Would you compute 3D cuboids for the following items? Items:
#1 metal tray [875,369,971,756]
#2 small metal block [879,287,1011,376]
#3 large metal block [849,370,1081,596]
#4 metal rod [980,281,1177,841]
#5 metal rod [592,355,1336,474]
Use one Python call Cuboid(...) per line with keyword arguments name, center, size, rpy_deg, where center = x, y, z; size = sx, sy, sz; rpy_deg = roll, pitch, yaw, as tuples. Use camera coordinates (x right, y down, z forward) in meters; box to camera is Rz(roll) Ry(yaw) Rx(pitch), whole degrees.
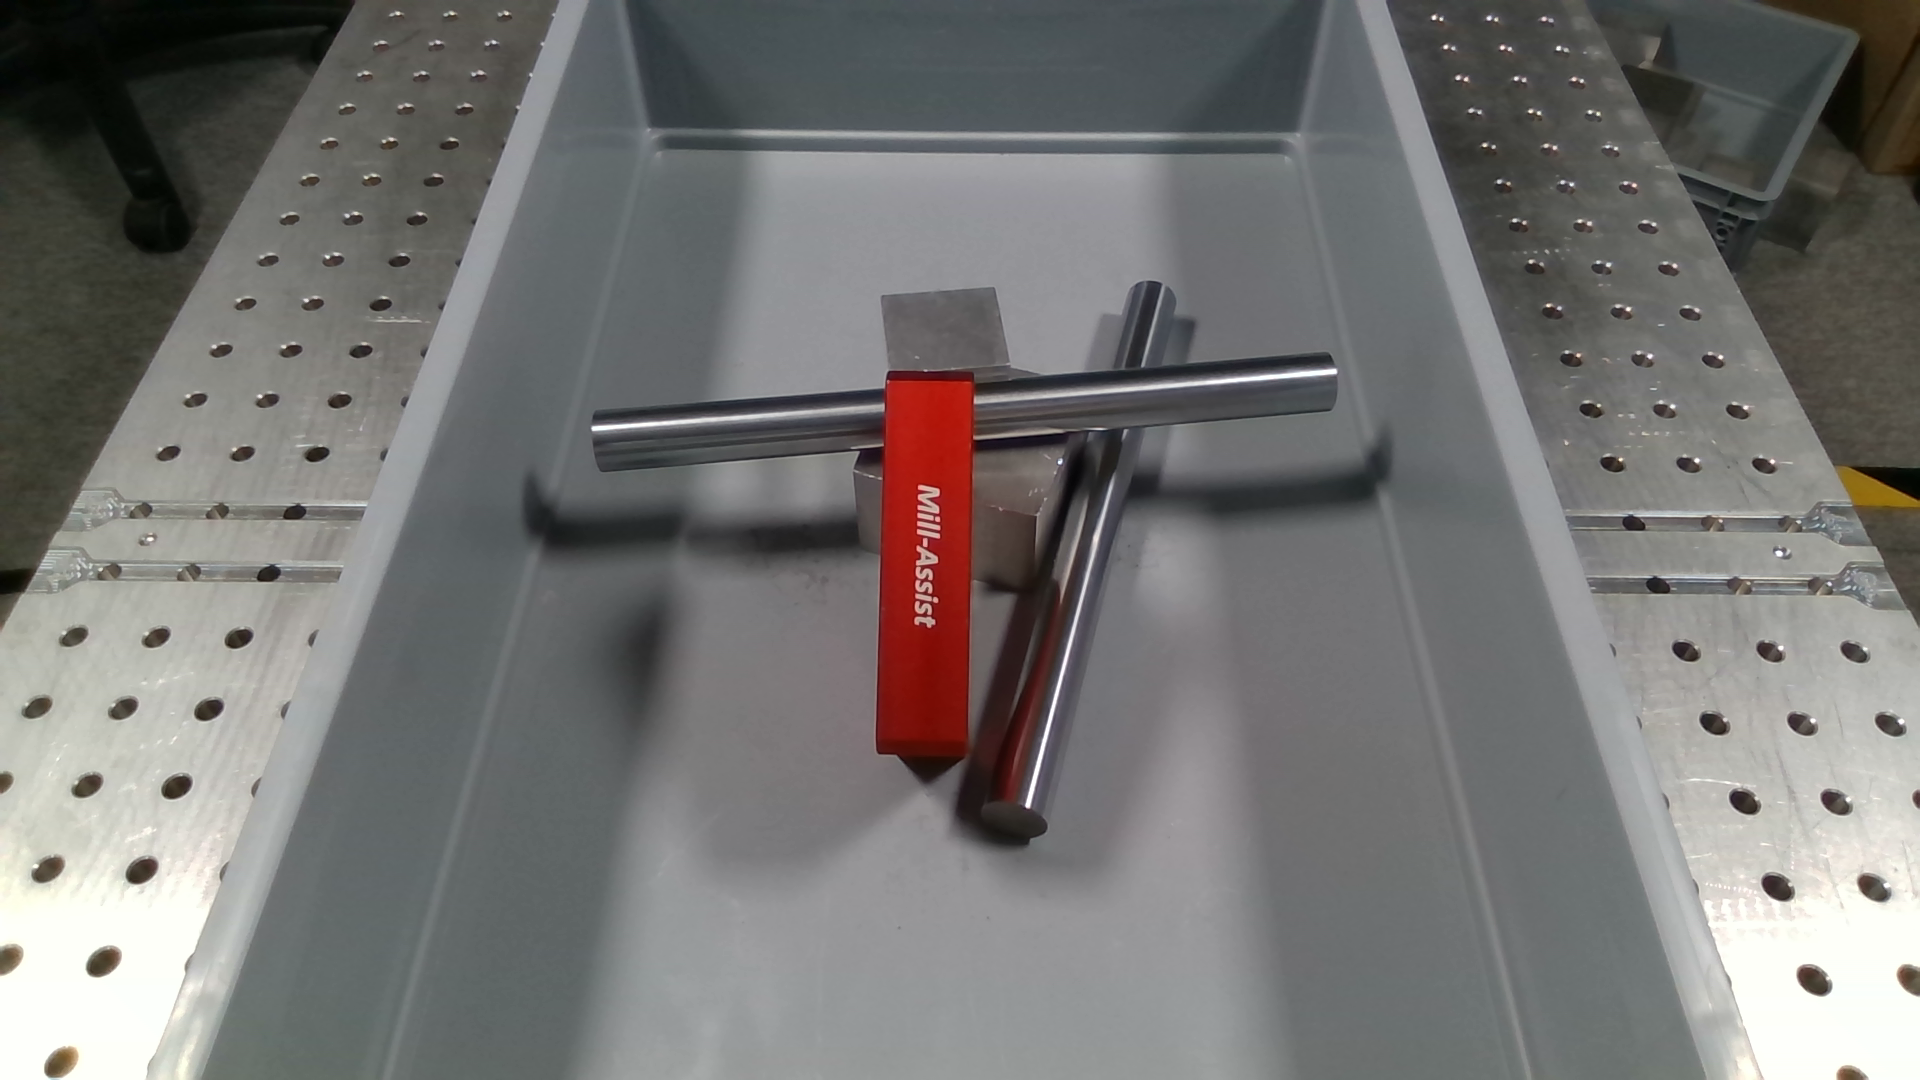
Cuboid(name="metal tray", center=(-0.011, 0.012, 0.499), size=(0.030, 0.090, 0.130), rpy_deg=(0, 82, 1))
Cuboid(name="small metal block", center=(-0.007, -0.080, 0.588), size=(0.050, 0.025, 0.050), rpy_deg=(-5, 51, -5))
Cuboid(name="large metal block", center=(0.005, -0.031, 0.596), size=(0.080, 0.050, 0.080), rpy_deg=(14, 52, 11))
Cuboid(name="metal rod", center=(0.057, -0.008, 0.593), size=(0.025, 0.025, 0.299), rpy_deg=(11, 51, 9))
Cuboid(name="metal rod", center=(0.004, -0.052, 0.564), size=(0.300, 0.025, 0.025), rpy_deg=(-5, 50, -4))
